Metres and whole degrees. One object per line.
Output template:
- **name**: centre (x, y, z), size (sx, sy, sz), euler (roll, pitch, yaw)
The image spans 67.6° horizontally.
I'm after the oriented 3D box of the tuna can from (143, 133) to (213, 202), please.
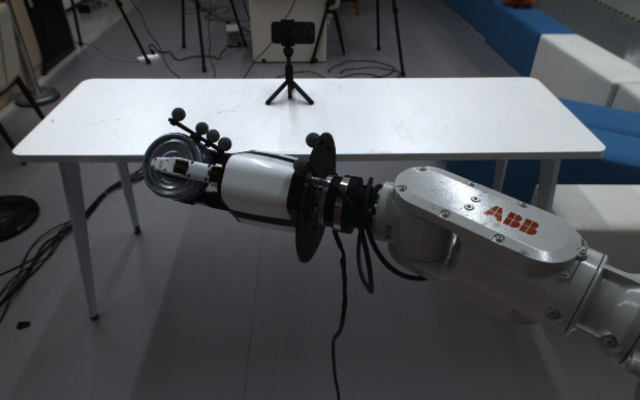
- **tuna can**: centre (-0.184, -0.042, 0.625), size (0.085, 0.085, 0.034), euler (12, -4, 14)
